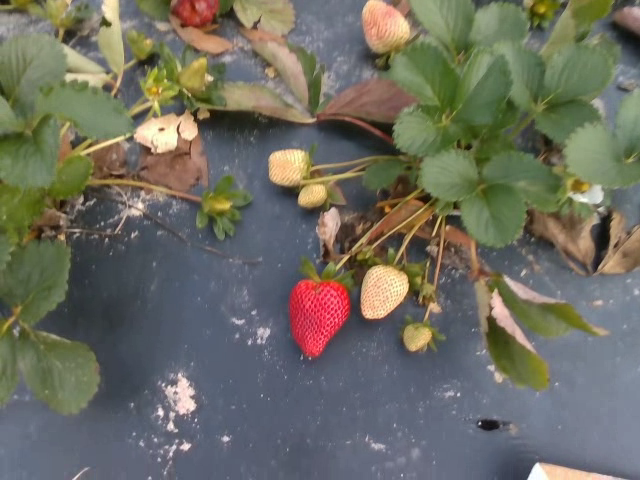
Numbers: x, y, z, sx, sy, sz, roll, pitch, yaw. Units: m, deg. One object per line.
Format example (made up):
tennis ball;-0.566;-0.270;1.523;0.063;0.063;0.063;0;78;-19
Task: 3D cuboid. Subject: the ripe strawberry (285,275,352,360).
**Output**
ripe strawberry;-0.002;0.050;0.398;0.050;0.059;0.034;4;-34;0
